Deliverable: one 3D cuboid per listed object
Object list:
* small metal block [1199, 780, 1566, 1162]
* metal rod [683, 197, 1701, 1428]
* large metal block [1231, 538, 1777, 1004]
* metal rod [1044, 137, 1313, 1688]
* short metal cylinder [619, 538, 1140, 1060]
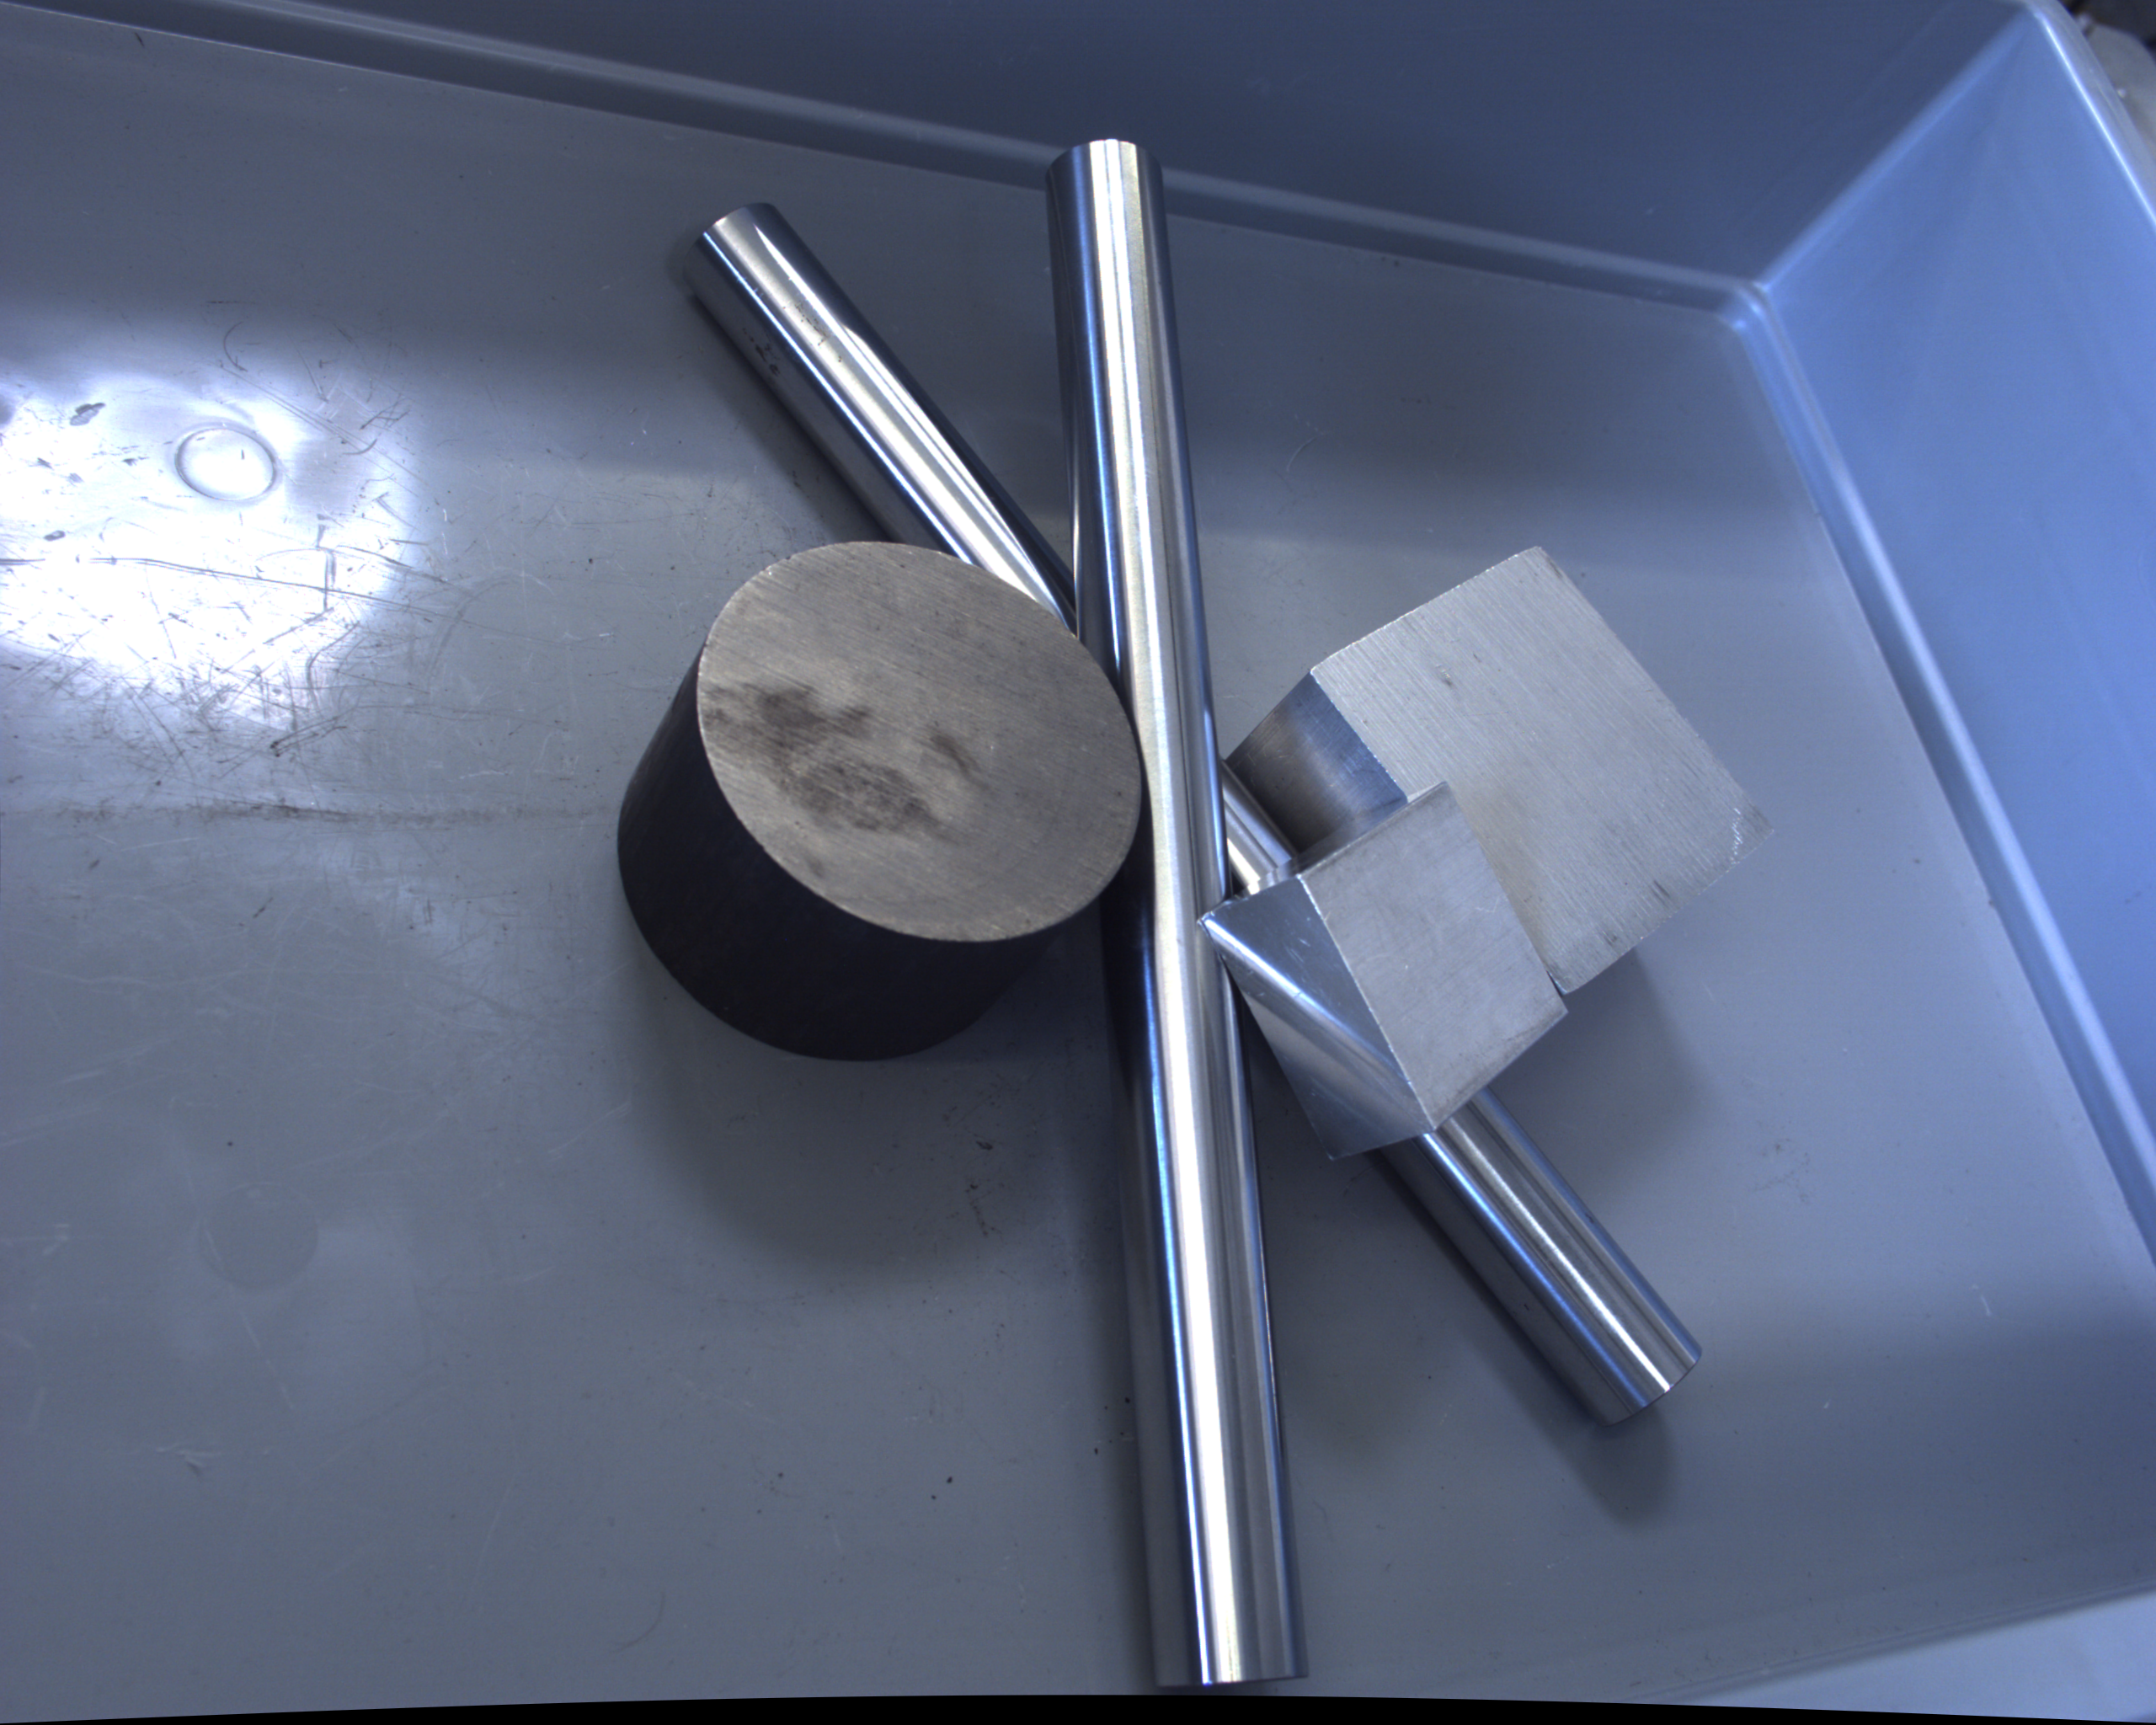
[{"bbox_3d":[0.057,0.019,0.382,0.050,0.025,0.050,-30,93,-46],"label":"small metal block"},{"bbox_3d":[0.018,-0.015,0.423,0.025,0.025,0.300,-32,80,-38],"label":"metal rod"},{"bbox_3d":[0.085,-0.011,0.439,0.081,0.050,0.080,-31,79,-38],"label":"large metal block"},{"bbox_3d":[0.015,-0.007,0.391,0.025,0.025,0.299,6,67,-25],"label":"metal rod"},{"bbox_3d":[-0.036,-0.011,0.375,0.081,0.050,0.080,14,56,-21],"label":"short metal cylinder"}]
